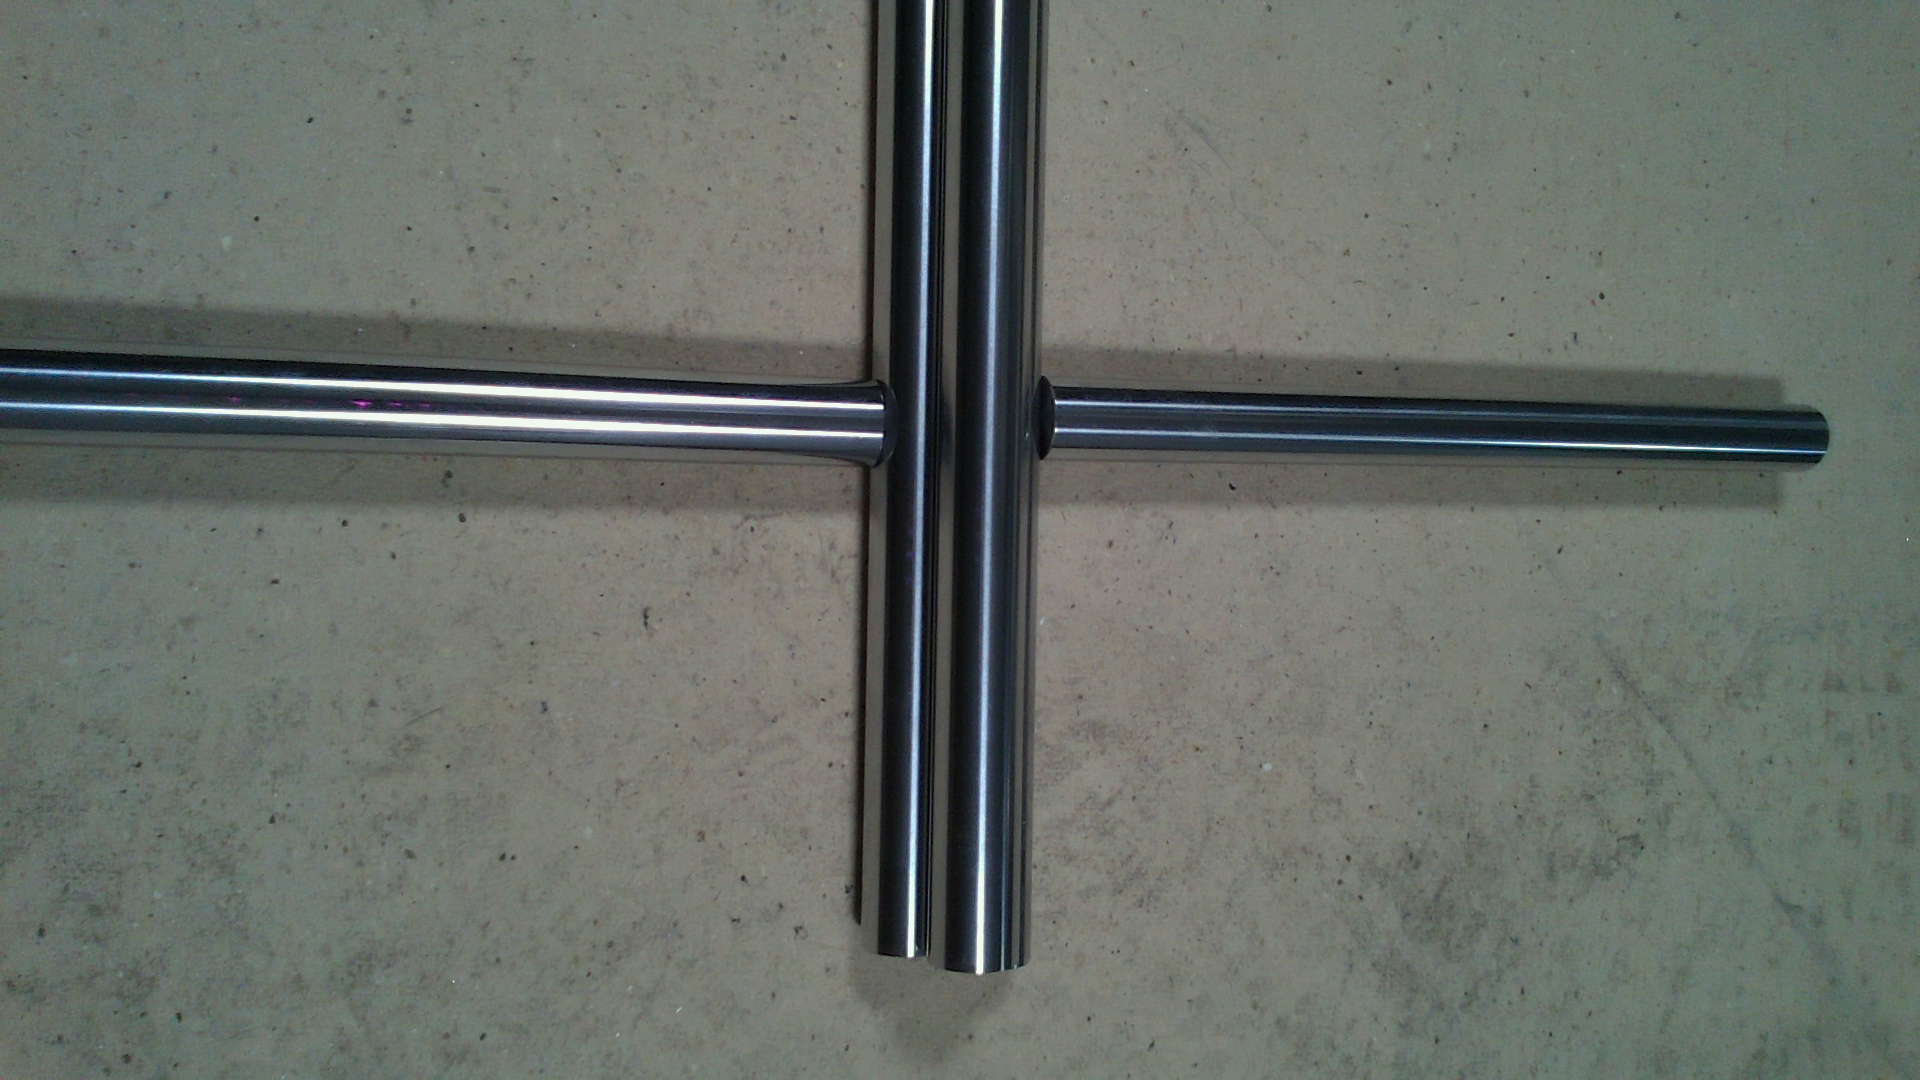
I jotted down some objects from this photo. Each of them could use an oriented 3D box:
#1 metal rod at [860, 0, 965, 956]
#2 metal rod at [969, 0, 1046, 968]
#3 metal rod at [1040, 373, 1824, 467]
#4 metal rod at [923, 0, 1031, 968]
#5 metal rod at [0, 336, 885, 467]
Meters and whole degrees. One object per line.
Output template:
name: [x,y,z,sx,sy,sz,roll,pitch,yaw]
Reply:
metal rod: [-0.013,-0.036,0.390,0.025,0.025,0.300,1,90,-20]
metal rod: [0.010,-0.030,0.398,0.025,0.025,0.300,1,90,-20]
metal rod: [0.164,-0.037,0.453,0.301,0.025,0.025,-1,90,-20]
metal rod: [0.005,-0.038,0.374,0.025,0.025,0.300,1,90,-20]
metal rod: [-0.166,-0.034,0.333,0.301,0.025,0.025,0,90,-20]
